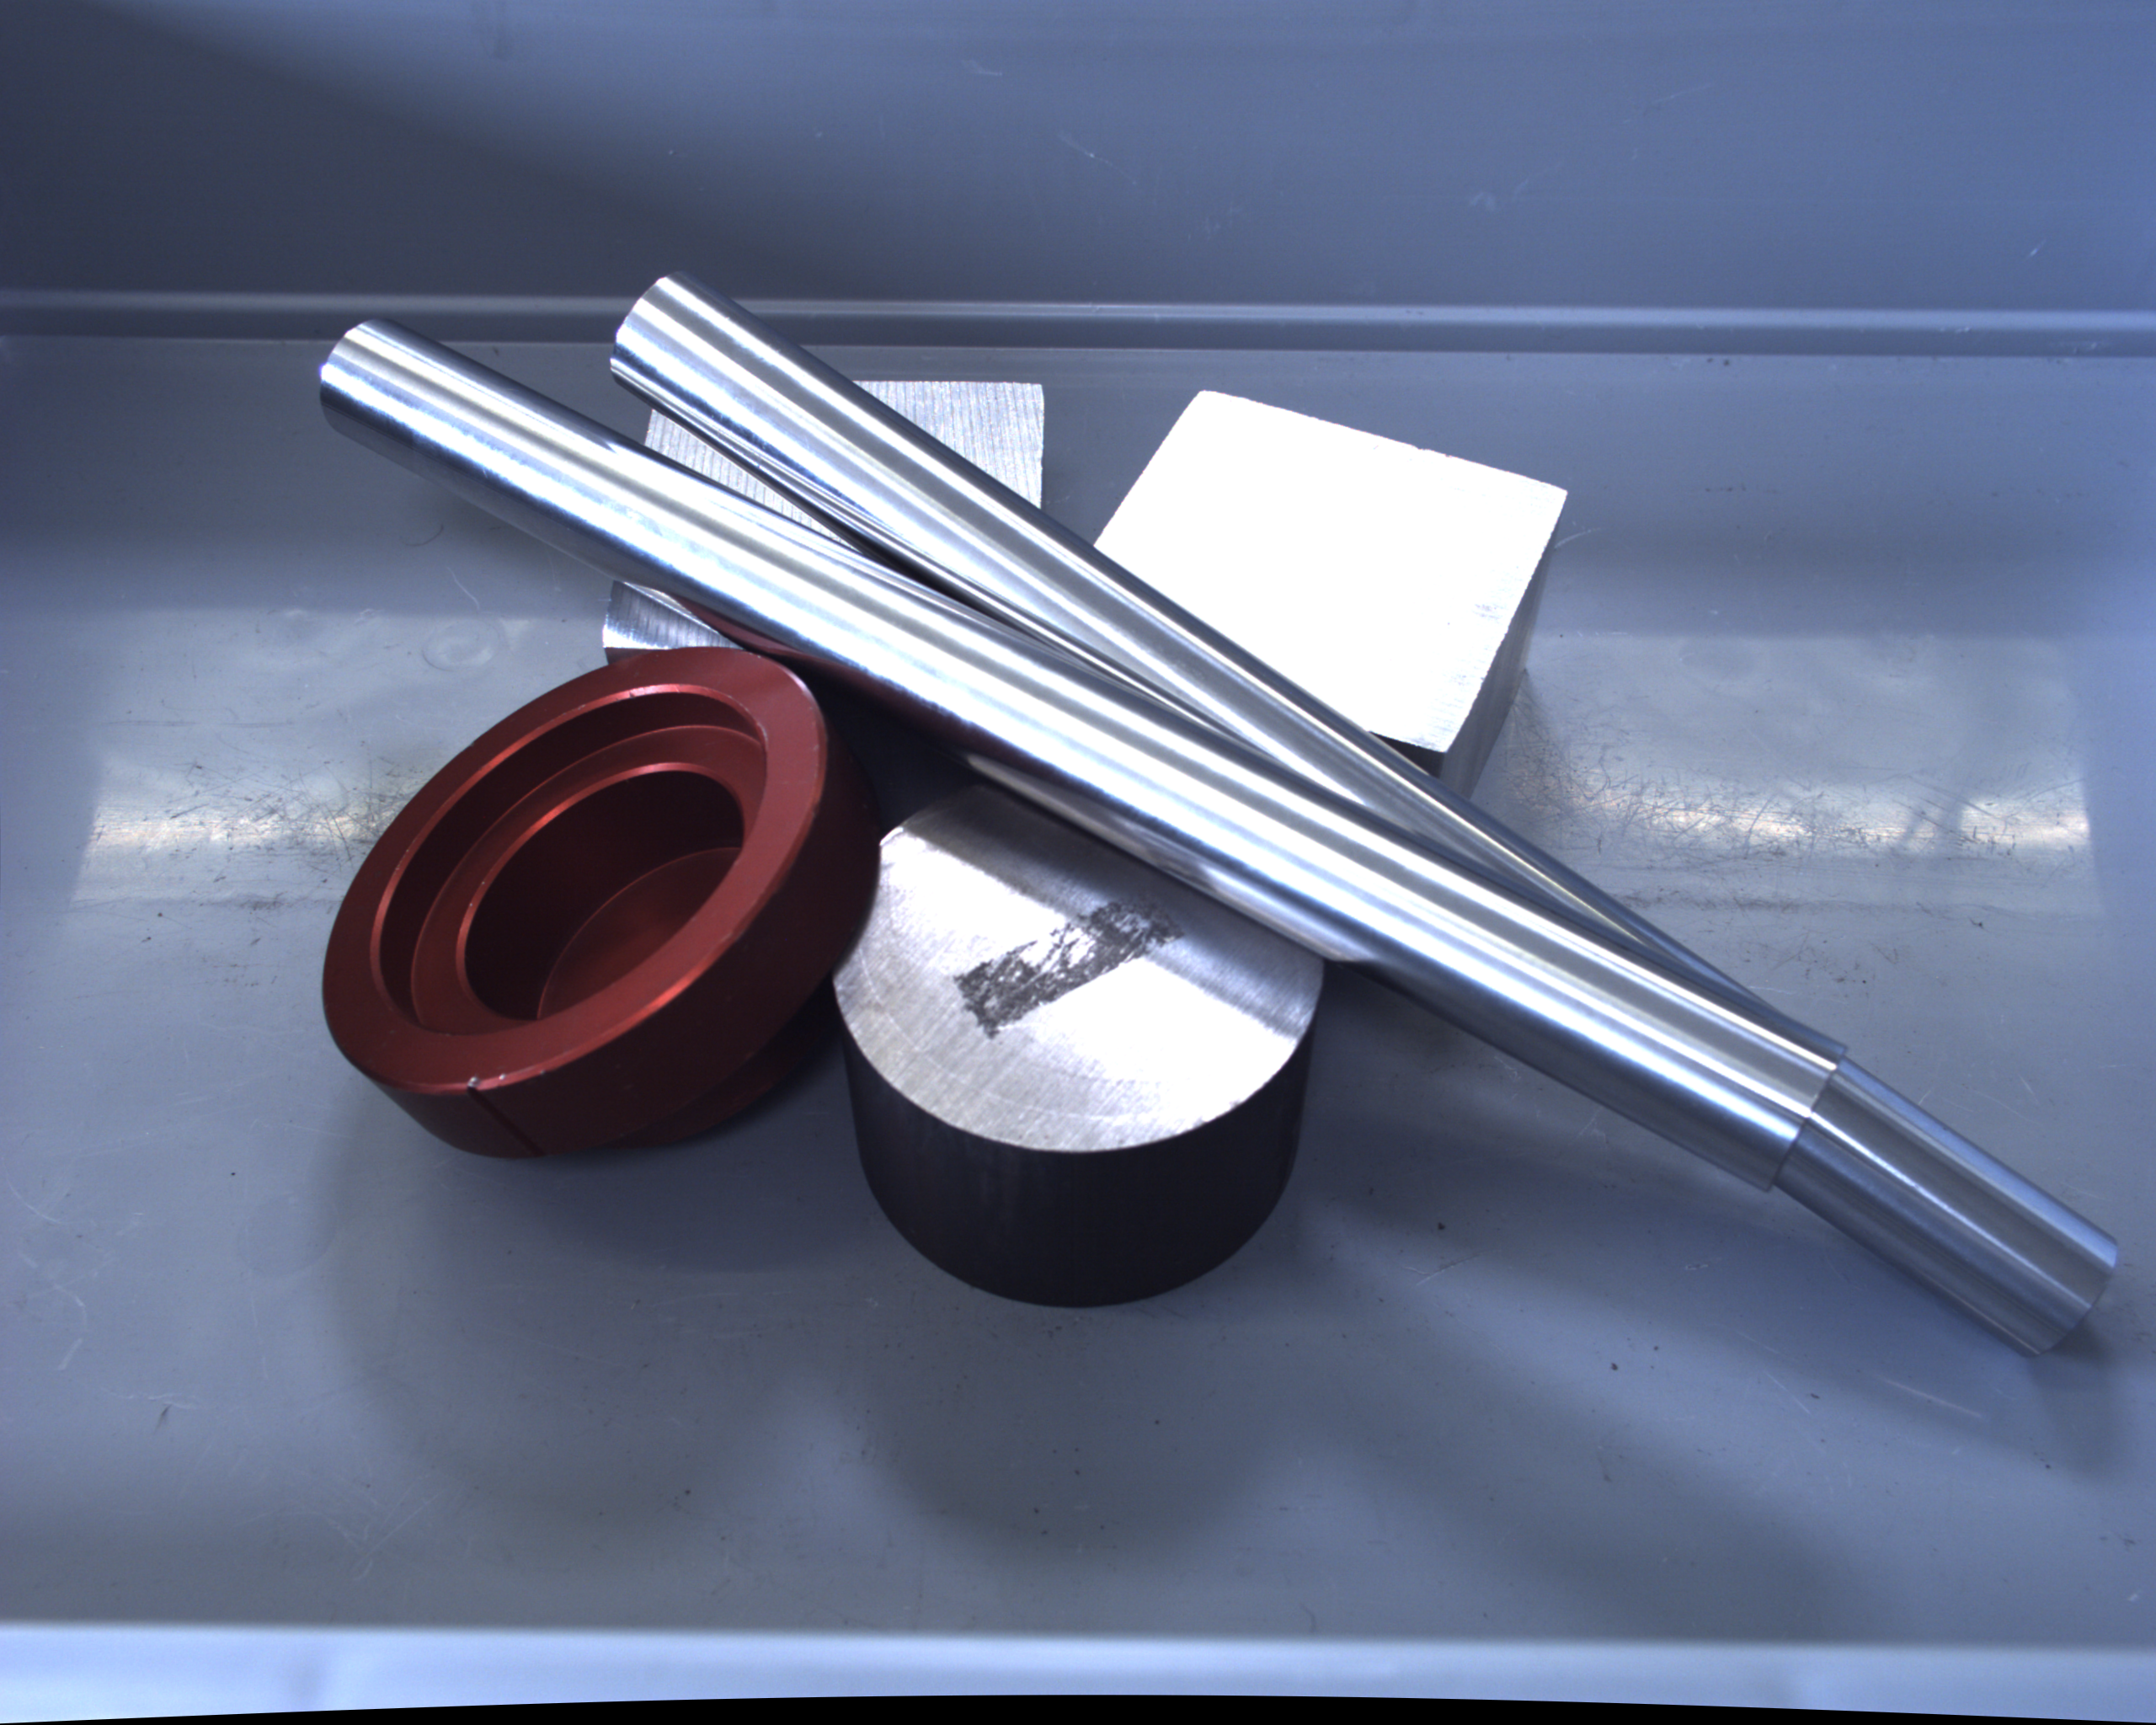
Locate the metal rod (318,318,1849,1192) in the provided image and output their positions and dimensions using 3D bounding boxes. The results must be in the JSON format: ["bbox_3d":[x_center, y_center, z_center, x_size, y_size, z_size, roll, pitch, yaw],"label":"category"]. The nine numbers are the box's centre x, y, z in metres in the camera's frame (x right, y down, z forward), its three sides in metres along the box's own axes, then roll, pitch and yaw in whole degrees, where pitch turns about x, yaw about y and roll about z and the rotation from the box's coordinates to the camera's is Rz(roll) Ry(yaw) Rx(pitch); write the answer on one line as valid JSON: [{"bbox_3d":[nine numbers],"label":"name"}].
[{"bbox_3d":[-0.016,-0.029,0.360,0.300,0.025,0.025,28,56,20],"label":"metal rod"}]

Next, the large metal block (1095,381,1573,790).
[{"bbox_3d":[0.046,-0.045,0.423,0.080,0.050,0.080,19,53,15],"label":"large metal block"}]

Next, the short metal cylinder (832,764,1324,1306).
[{"bbox_3d":[0.000,0.029,0.361,0.081,0.050,0.080,0,50,0],"label":"short metal cylinder"}]

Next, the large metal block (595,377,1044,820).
[{"bbox_3d":[-0.048,-0.055,0.428,0.081,0.050,0.080,1,50,0],"label":"large metal block"}]

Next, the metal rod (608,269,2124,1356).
[{"bbox_3d":[0.042,-0.014,0.366,0.300,0.025,0.025,35,57,9],"label":"metal rod"}]

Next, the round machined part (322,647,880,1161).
[{"bbox_3d":[-0.078,0.011,0.367,0.098,0.042,0.098,-16,44,17],"label":"round machined part"}]
